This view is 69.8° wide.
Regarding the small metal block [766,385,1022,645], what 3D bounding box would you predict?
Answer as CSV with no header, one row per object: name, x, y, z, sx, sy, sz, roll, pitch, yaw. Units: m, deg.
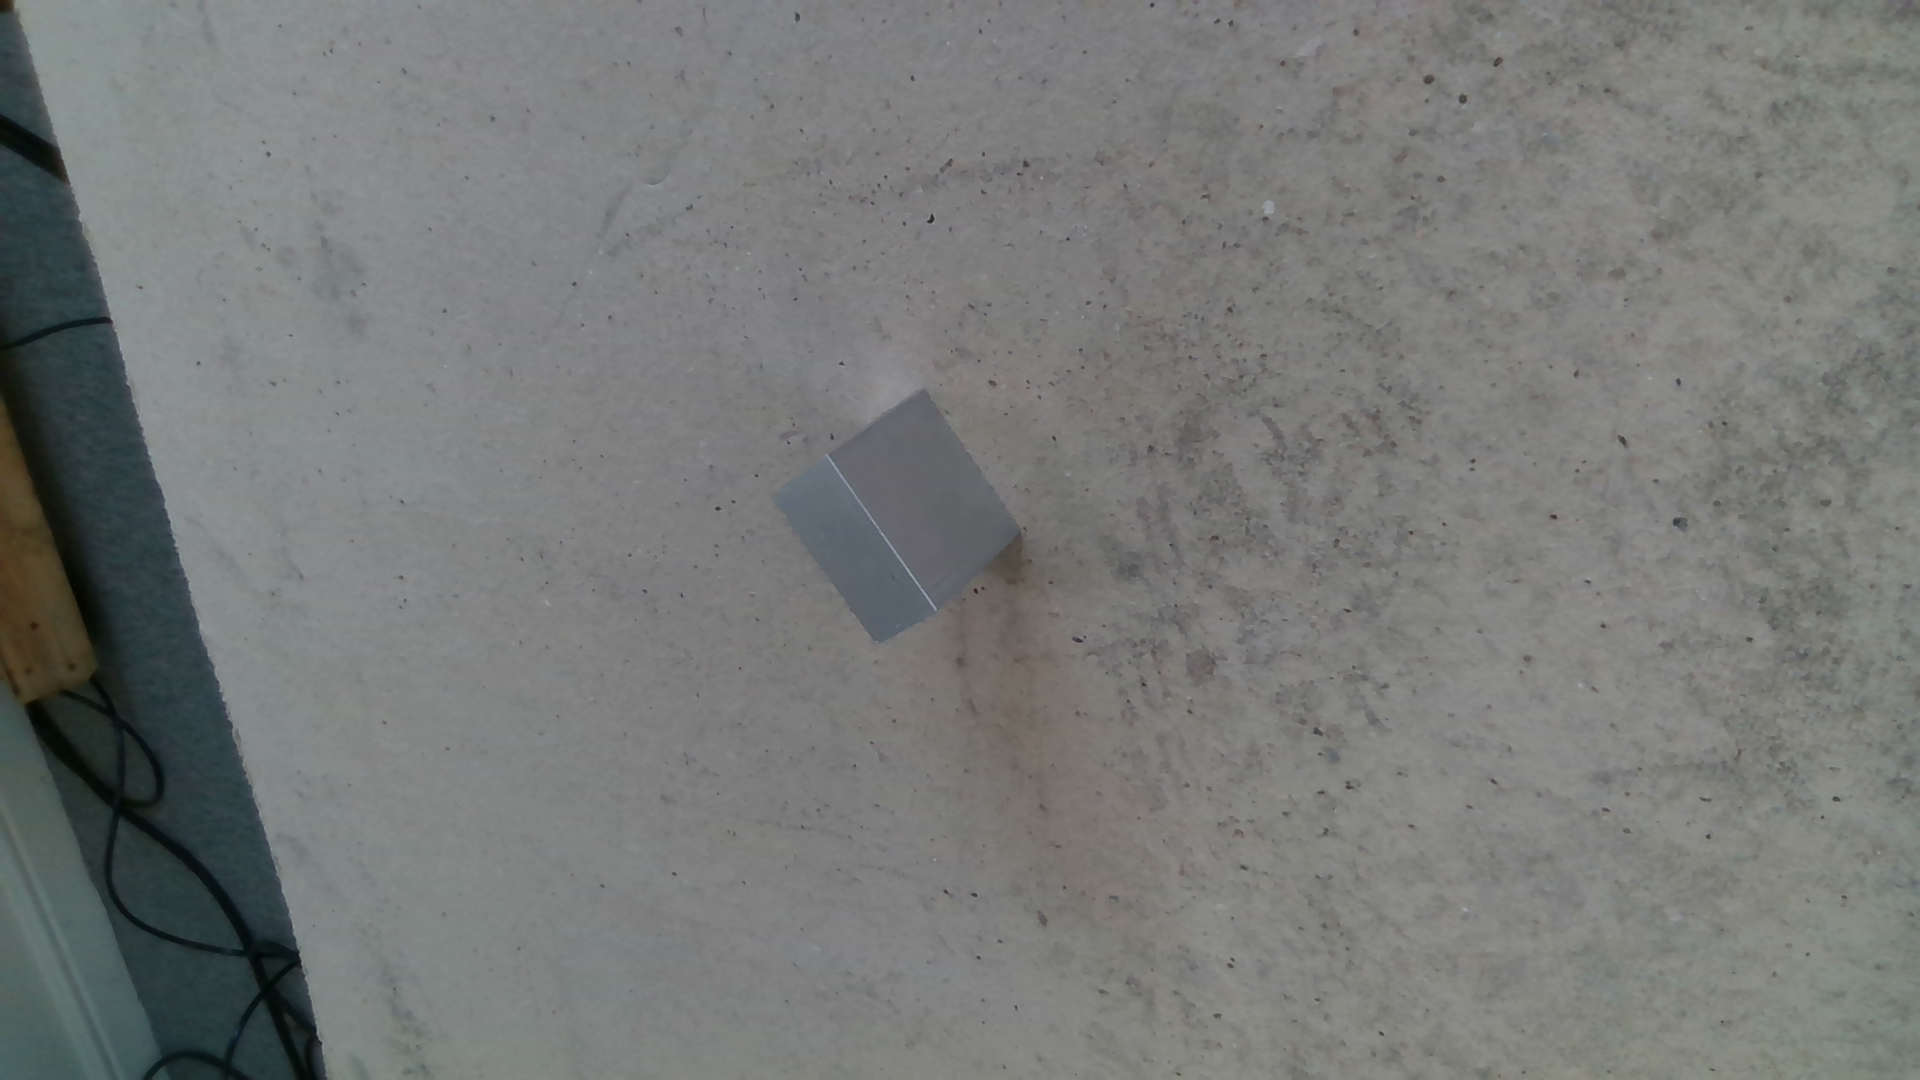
small metal block,-0.017,-0.008,0.379,0.025,0.050,0.050,-30,97,39
